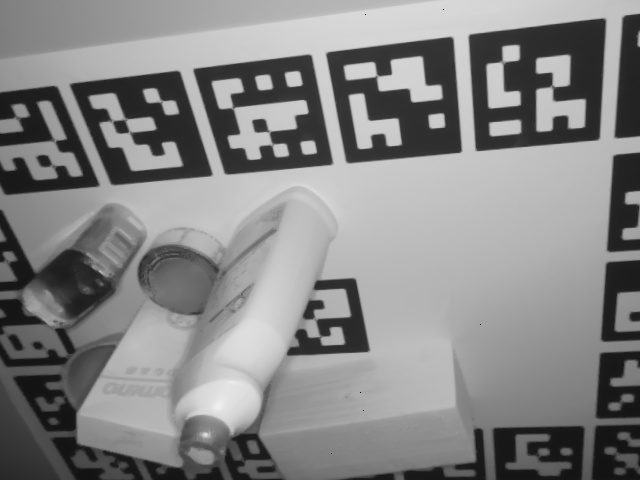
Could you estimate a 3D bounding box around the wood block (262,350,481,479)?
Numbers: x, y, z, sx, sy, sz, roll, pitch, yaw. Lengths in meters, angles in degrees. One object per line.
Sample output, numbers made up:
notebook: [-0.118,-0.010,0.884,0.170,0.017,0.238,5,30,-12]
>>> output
wood block: [0.058,0.193,0.732,0.204,0.091,0.090,-12,116,16]

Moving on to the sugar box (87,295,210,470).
sugar box: [-0.145,0.127,0.656,0.093,0.178,0.045,12,122,-4]

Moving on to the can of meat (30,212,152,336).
can of meat: [-0.215,0.031,0.666,0.100,0.084,0.058,-32,116,27]

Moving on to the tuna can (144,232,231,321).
tuna can: [-0.125,0.036,0.680,0.085,0.034,0.085,3,120,5]

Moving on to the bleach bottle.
bleach bottle: [-0.045,0.066,0.563,0.101,0.253,0.068,-28,116,23]

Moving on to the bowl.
bowl: [-0.201,0.167,0.765,0.162,0.055,0.160,1,123,2]
